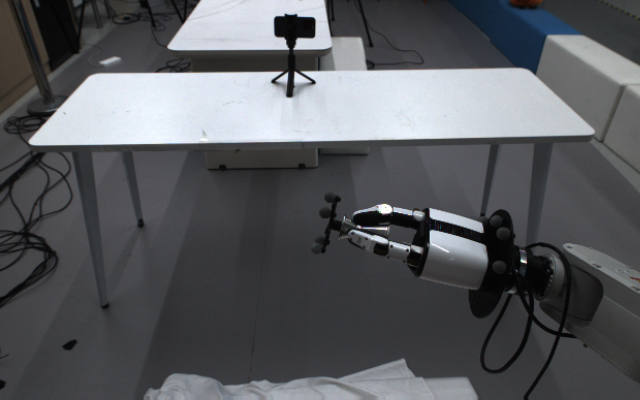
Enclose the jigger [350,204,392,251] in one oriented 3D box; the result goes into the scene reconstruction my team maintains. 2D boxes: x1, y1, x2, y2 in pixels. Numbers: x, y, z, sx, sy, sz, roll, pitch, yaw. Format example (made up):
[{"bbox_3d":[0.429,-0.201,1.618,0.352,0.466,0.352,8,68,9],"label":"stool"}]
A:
[{"bbox_3d":[0.071,0.045,0.706,0.071,0.043,0.043,14,36,4],"label":"jigger"}]
